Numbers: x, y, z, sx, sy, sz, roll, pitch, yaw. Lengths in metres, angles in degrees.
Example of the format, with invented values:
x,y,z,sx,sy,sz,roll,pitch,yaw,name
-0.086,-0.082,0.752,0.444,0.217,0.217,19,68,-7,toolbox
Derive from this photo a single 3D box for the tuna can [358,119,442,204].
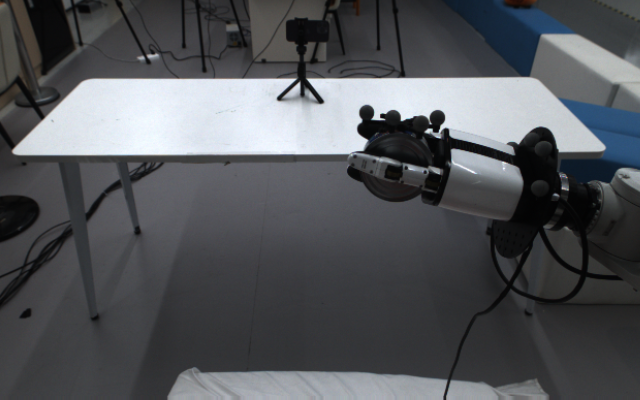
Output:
x,y,z,sx,sy,sz,roll,pitch,yaw,name
0.093,-0.044,0.577,0.085,0.085,0.034,7,23,6,tuna can
